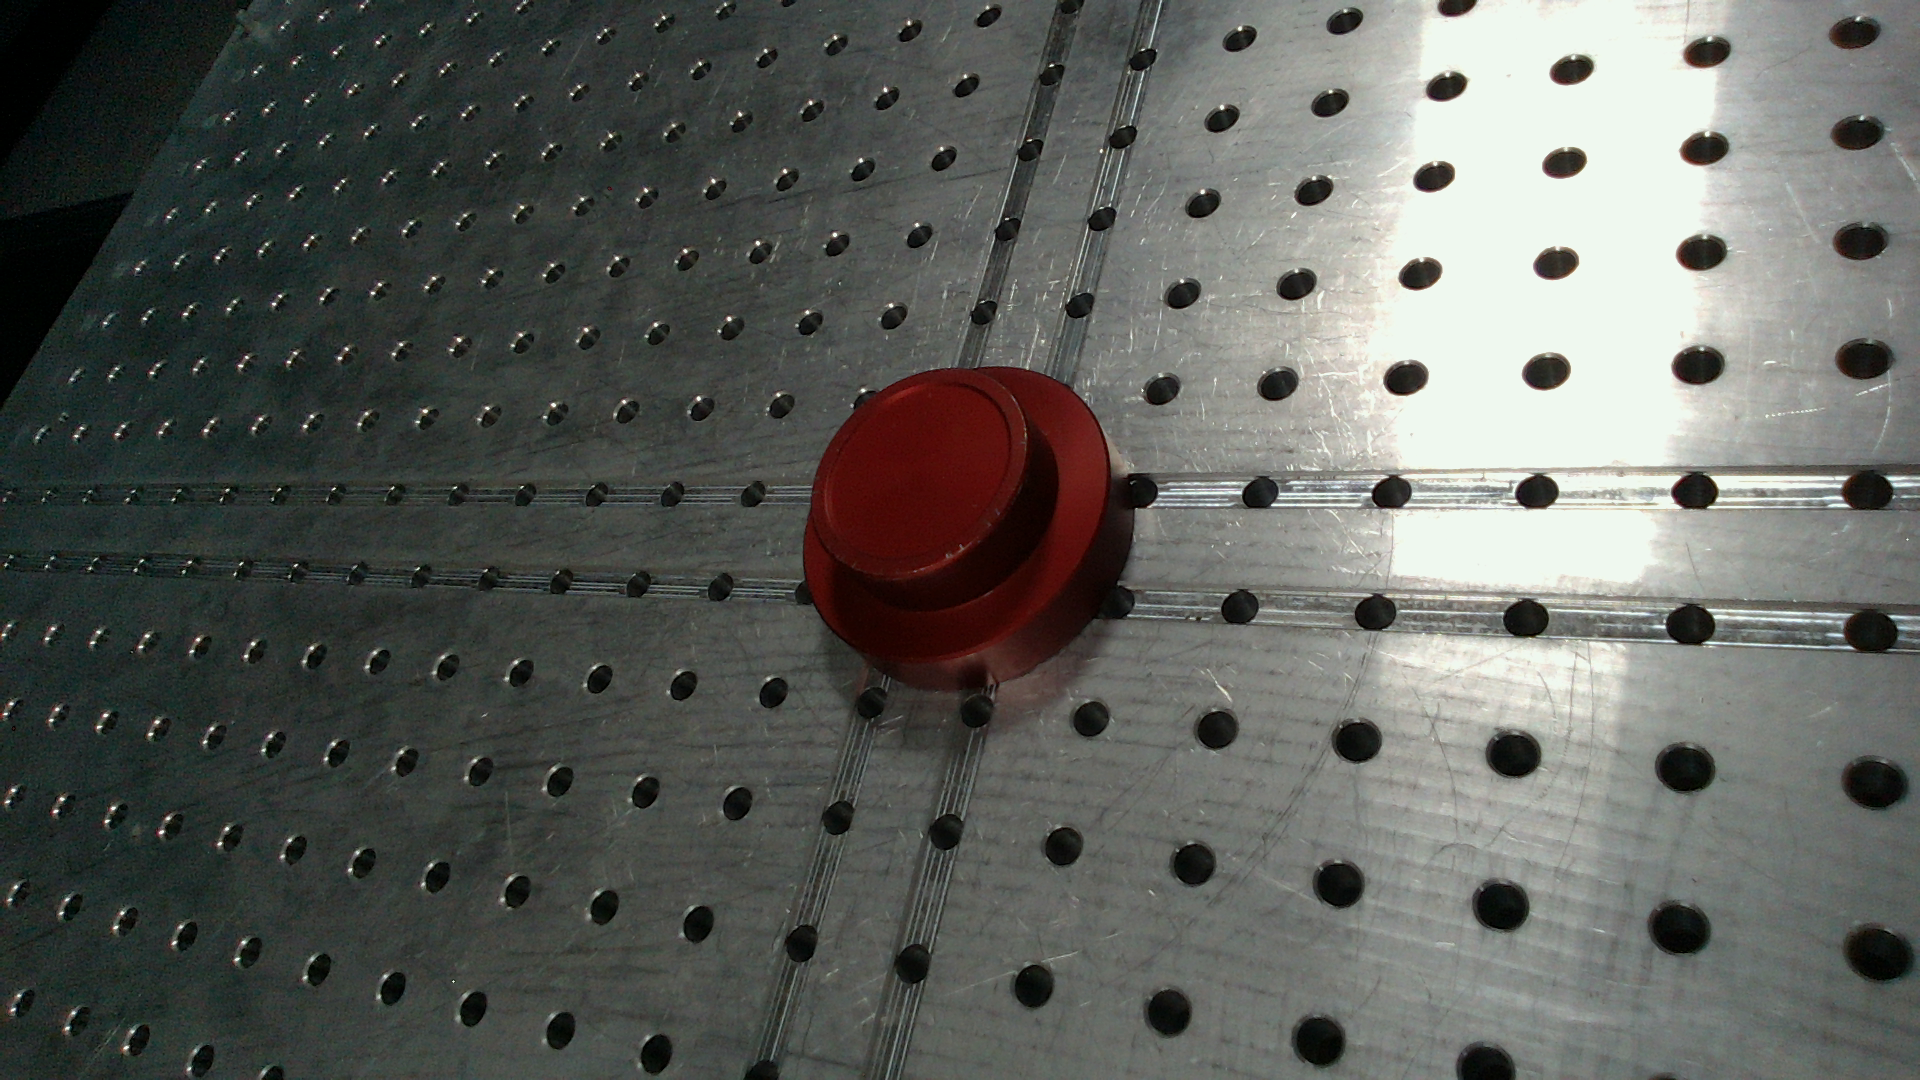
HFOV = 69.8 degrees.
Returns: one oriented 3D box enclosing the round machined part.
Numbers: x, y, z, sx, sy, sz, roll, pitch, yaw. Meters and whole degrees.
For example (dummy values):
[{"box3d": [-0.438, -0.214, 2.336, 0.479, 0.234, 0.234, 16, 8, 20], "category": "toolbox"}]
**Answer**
[{"box3d": [-0.004, -0.010, 0.394, 0.098, 0.042, 0.098, -13, 56, 21], "category": "round machined part"}]
